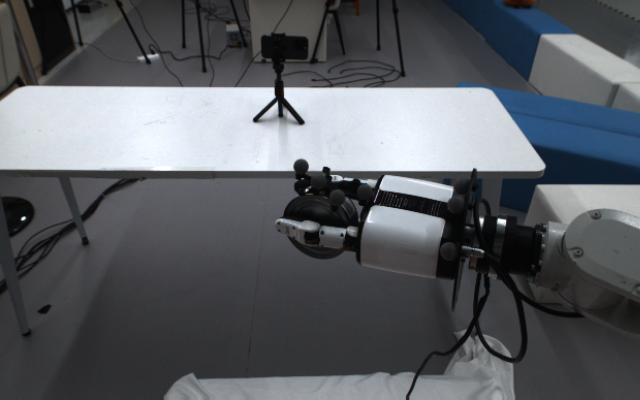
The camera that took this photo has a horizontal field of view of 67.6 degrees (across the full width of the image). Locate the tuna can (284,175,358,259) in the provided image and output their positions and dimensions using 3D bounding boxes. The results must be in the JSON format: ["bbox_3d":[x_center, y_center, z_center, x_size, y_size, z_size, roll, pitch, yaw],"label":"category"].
[{"bbox_3d":[0.004,0.024,0.575,0.085,0.085,0.034,16,29,19],"label":"tuna can"}]
